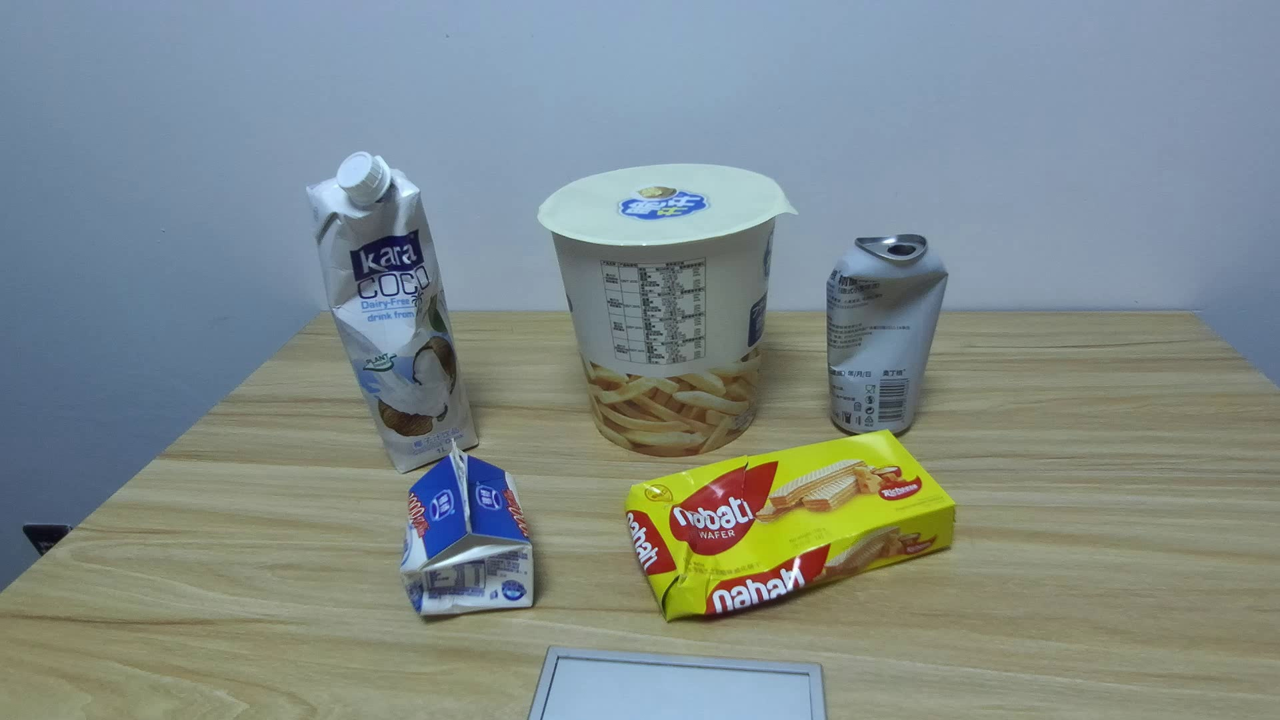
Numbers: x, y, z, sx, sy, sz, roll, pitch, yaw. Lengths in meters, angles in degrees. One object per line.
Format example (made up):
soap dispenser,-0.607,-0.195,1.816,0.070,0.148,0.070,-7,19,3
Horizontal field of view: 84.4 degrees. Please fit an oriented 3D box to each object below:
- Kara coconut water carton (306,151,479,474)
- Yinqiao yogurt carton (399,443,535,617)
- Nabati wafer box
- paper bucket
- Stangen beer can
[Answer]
Kara coconut water carton,-0.192,-0.036,0.551,0.083,0.256,0.078,-12,33,-13
Yinqiao yogurt carton,-0.114,0.108,0.452,0.080,0.097,0.074,-7,32,-17
Nabati wafer box,0.099,0.110,0.479,0.204,0.042,0.106,-11,29,-9
paper bucket,0.024,-0.042,0.589,0.198,0.195,0.198,-4,31,2
Stangen beer can,0.191,-0.017,0.559,0.077,0.162,0.065,-27,37,-32
